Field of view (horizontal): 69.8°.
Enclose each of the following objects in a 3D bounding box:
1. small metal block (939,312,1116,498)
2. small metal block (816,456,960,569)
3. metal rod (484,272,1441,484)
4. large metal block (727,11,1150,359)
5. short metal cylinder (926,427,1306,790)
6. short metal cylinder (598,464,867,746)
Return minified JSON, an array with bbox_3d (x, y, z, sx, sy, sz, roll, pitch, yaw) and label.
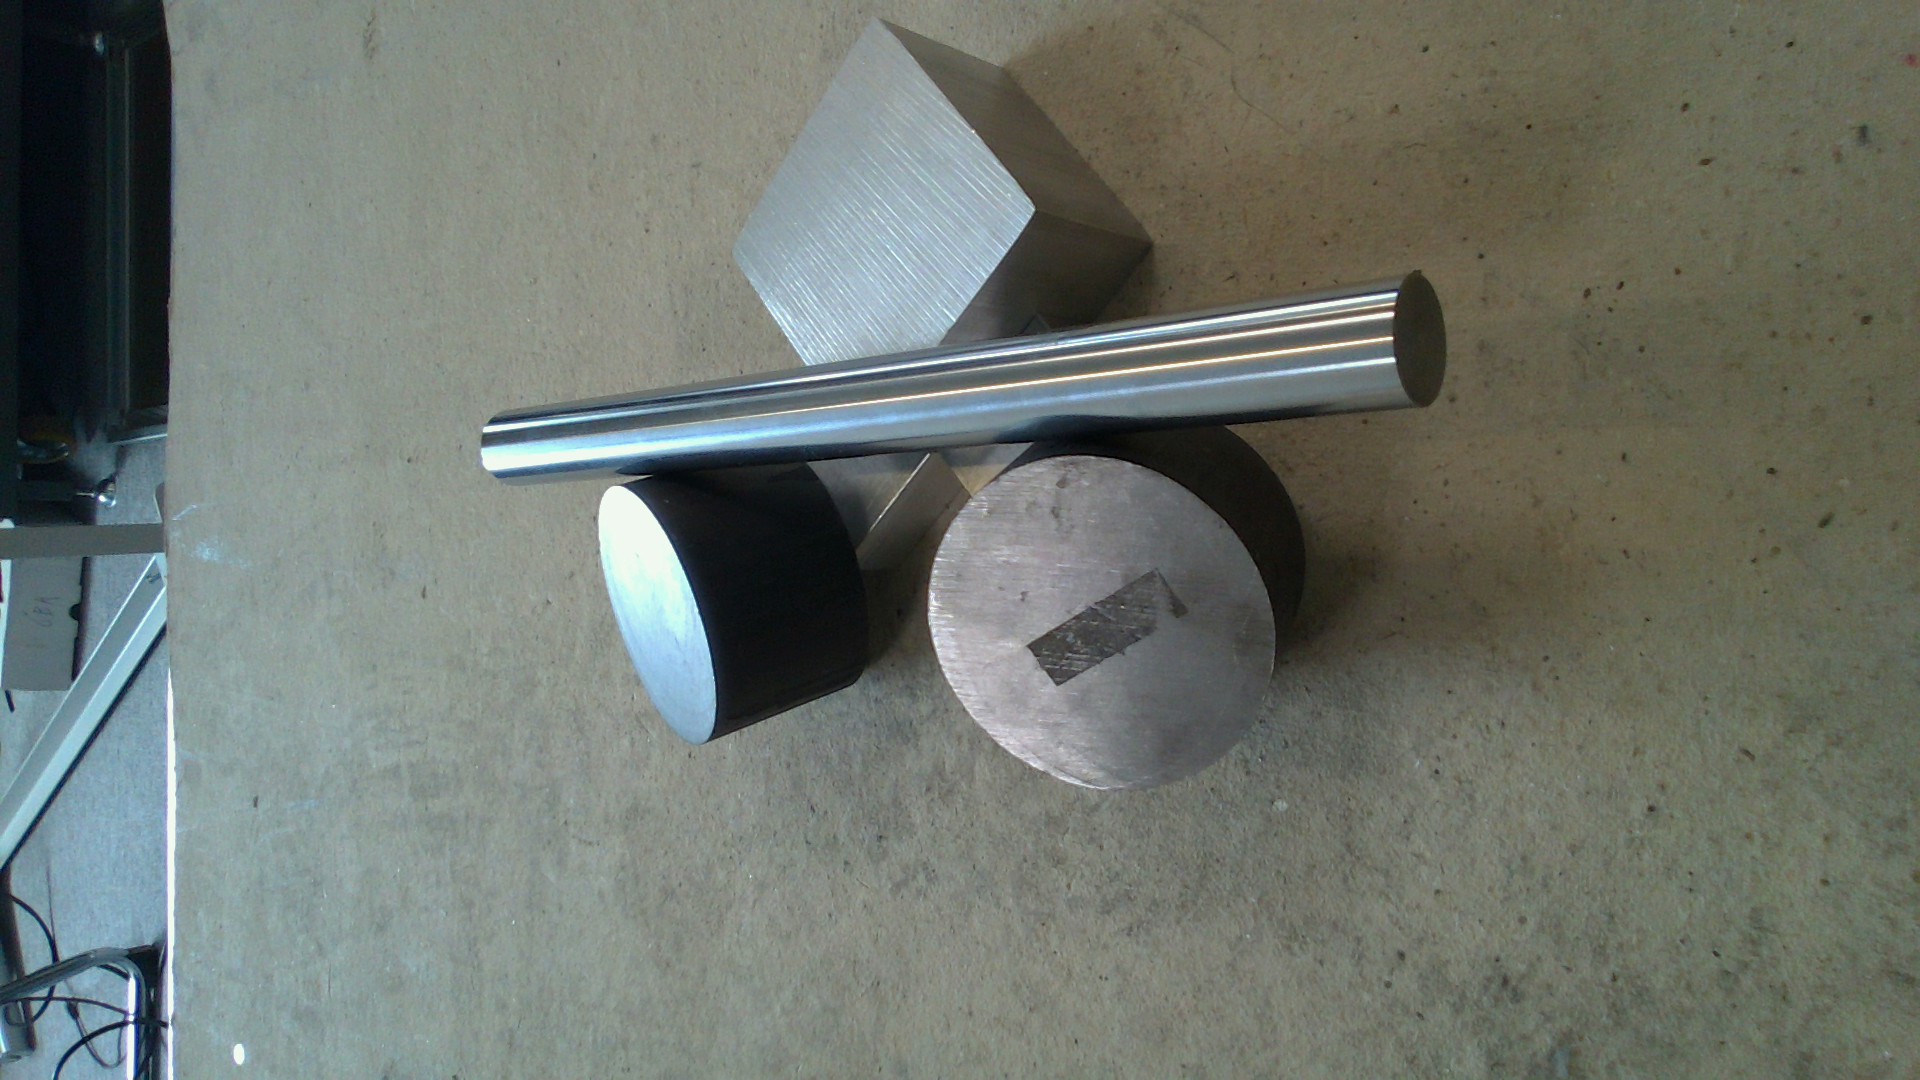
[{"bbox_3d":[0.027,-0.025,0.372,0.050,0.025,0.050,-51,60,28],"label":"small metal block"},{"bbox_3d":[-0.027,-0.027,0.418,0.050,0.025,0.050,-50,60,27],"label":"small metal block"},{"bbox_3d":[-0.029,-0.034,0.352,0.299,0.025,0.025,-2,89,40],"label":"metal rod"},{"bbox_3d":[-0.009,-0.083,0.383,0.080,0.050,0.080,-50,61,29],"label":"large metal block"},{"bbox_3d":[0.038,0.012,0.328,0.080,0.050,0.080,7,110,19],"label":"short metal cylinder"},{"bbox_3d":[-0.070,0.016,0.419,0.080,0.050,0.080,36,136,46],"label":"short metal cylinder"}]
